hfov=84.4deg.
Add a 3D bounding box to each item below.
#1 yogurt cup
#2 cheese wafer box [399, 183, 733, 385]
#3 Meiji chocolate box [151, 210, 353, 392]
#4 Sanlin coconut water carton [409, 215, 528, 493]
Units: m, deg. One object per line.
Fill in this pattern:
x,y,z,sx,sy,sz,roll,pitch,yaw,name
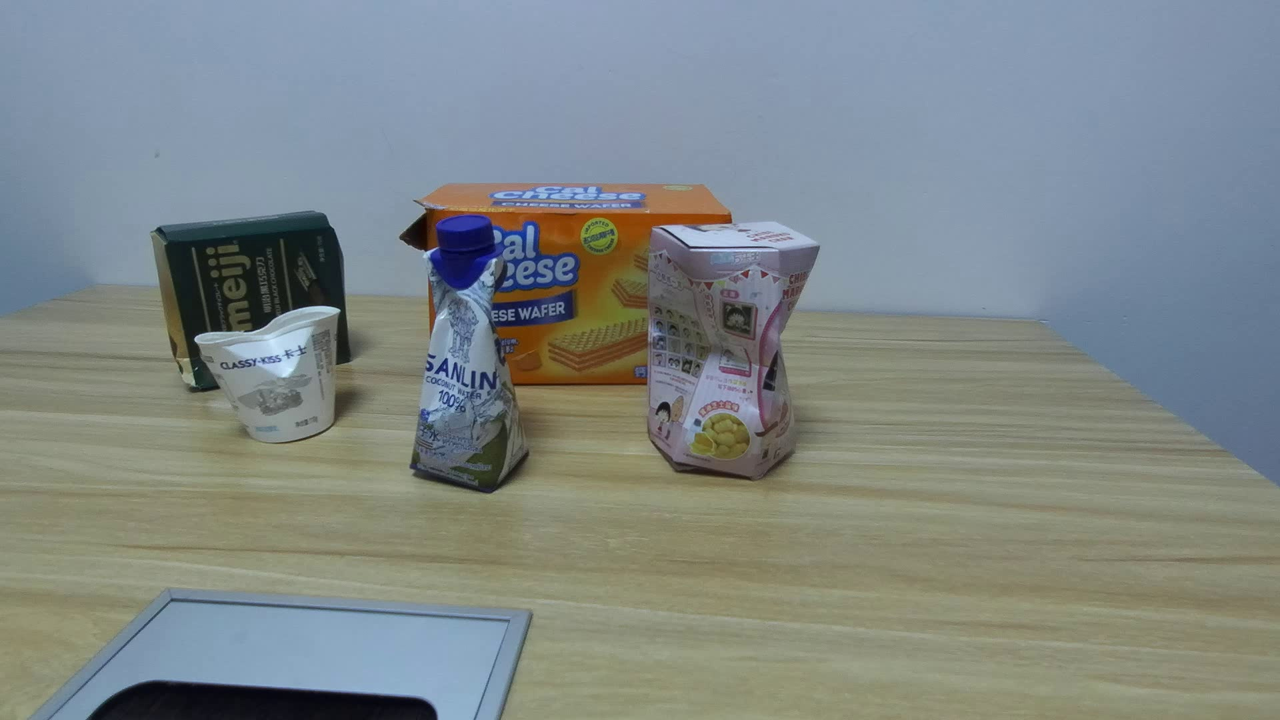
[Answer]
-0.223,0.008,0.438,0.053,0.071,0.075,6,23,11,yogurt cup
-0.051,-0.069,0.562,0.227,0.137,0.149,0,22,-4,cheese wafer box
-0.282,-0.047,0.522,0.123,0.116,0.058,-15,28,-36,Meiji chocolate box
-0.087,-0.005,0.396,0.056,0.144,0.068,13,14,13,Sanlin coconut water carton
